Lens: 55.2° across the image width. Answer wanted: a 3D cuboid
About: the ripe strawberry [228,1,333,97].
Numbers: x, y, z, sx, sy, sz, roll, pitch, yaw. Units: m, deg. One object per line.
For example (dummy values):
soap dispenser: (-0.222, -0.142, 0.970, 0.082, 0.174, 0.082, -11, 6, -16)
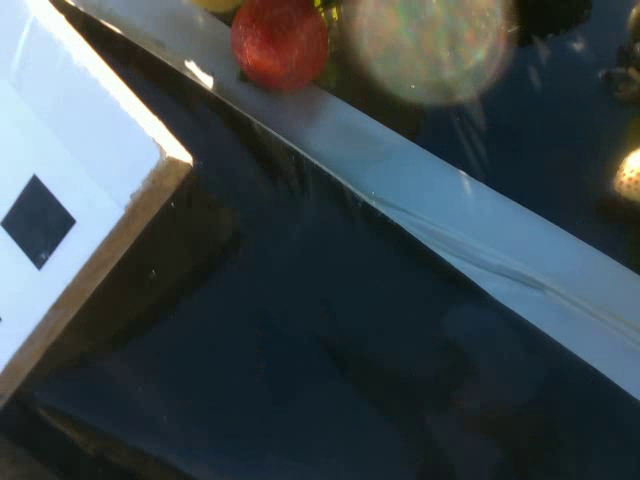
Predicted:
ripe strawberry: (-0.019, -0.080, 0.253, 0.045, 0.049, 0.064, -22, 25, 17)
